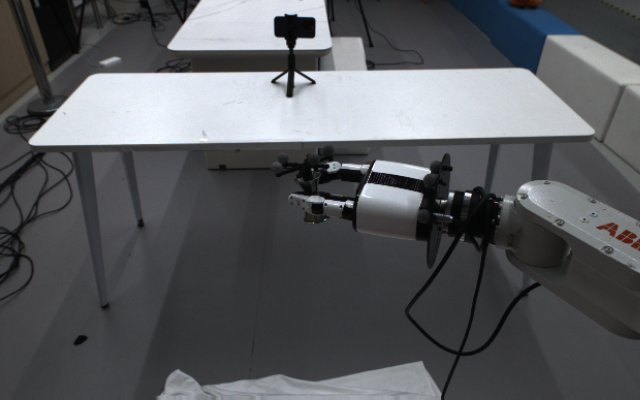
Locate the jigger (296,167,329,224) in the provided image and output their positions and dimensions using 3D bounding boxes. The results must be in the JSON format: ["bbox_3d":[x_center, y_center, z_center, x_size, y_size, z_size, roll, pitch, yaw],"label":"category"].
[{"bbox_3d":[-0.011,-0.005,0.720,0.043,0.071,0.043,-11,24,5],"label":"jigger"}]
